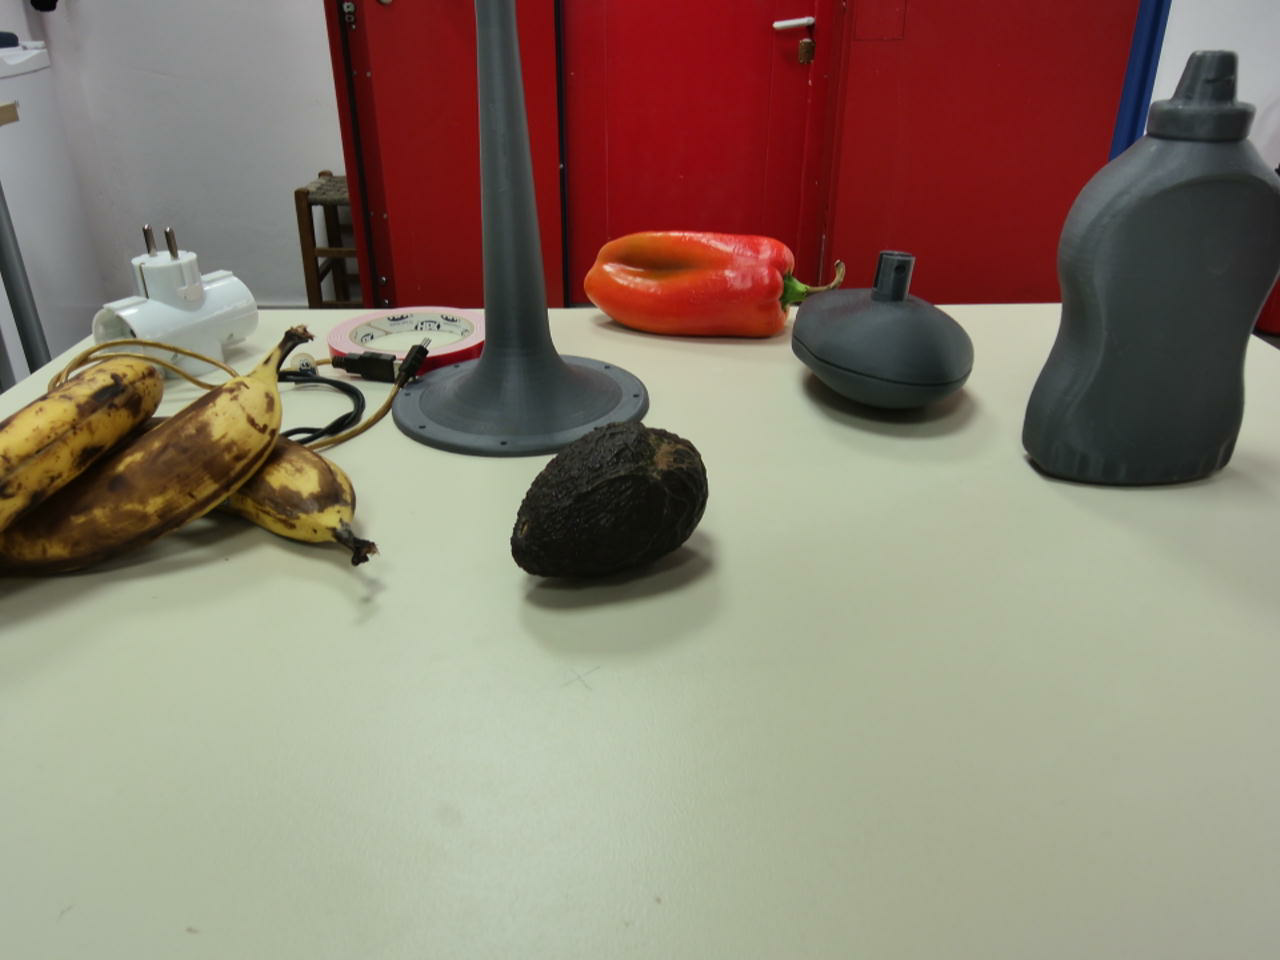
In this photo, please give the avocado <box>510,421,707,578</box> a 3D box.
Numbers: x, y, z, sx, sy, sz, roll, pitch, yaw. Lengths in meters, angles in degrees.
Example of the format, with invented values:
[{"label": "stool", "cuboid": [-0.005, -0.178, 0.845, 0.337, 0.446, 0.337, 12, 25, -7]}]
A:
[{"label": "avocado", "cuboid": [-0.014, 0.008, 0.426, 0.092, 0.062, 0.062, -11, 27, -22]}]
